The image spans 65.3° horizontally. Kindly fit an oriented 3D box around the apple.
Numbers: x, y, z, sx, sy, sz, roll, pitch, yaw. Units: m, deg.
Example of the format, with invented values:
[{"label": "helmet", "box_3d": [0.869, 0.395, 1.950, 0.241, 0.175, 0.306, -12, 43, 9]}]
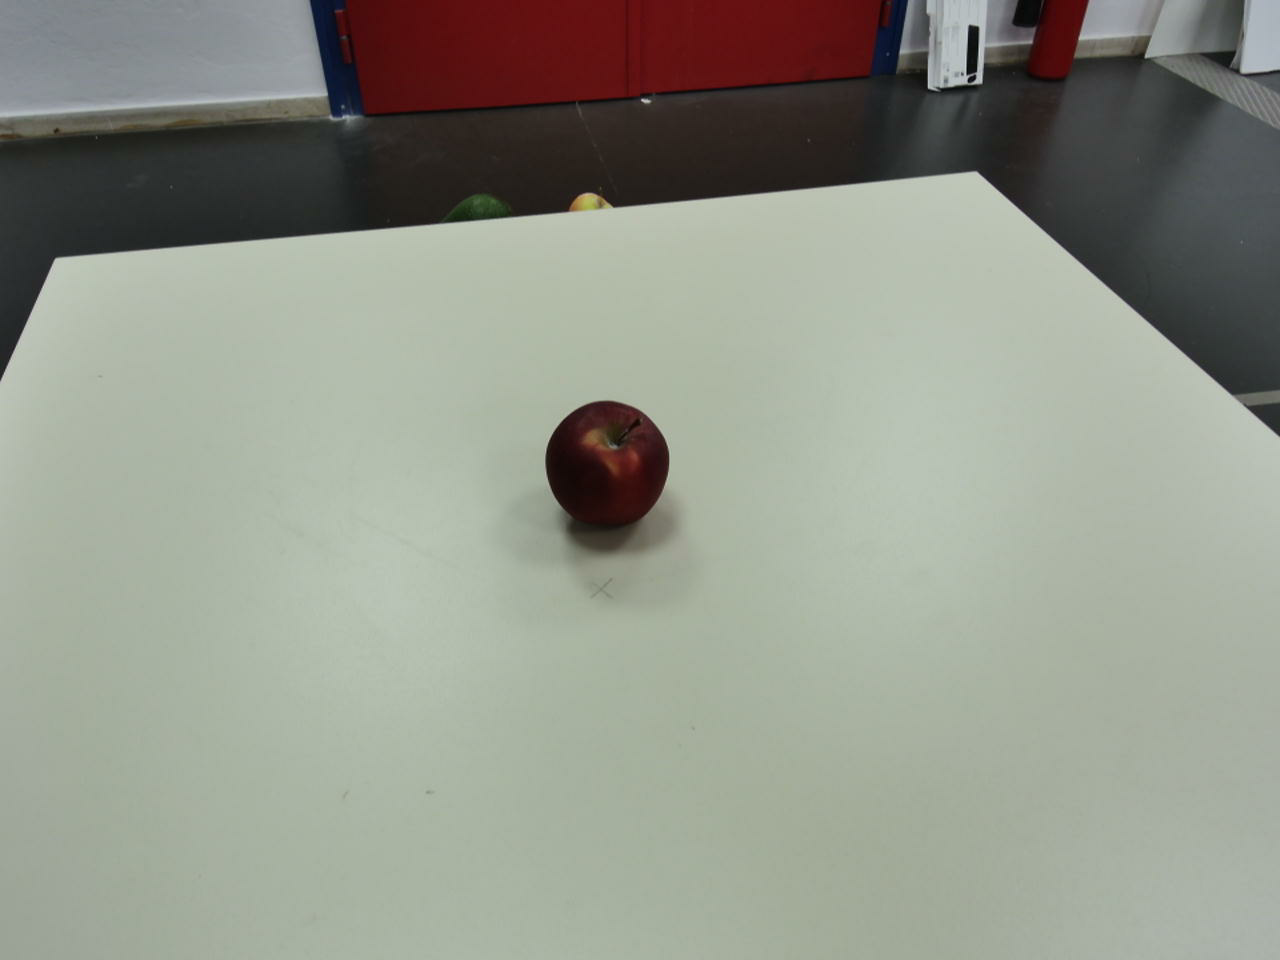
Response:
[{"label": "apple", "box_3d": [-0.018, -0.008, 0.557, 0.070, 0.072, 0.070, 0, 39, 0]}]
